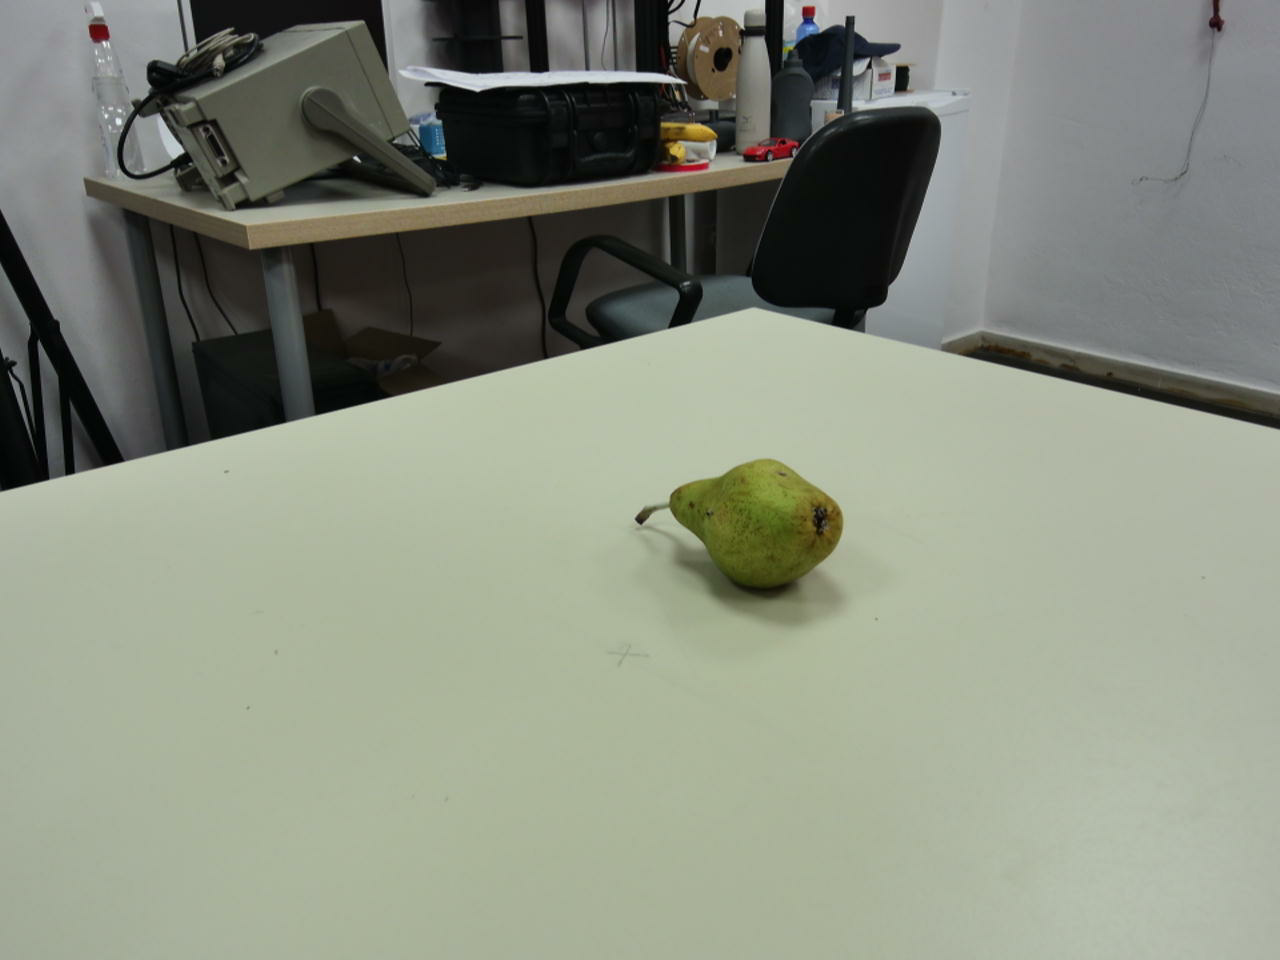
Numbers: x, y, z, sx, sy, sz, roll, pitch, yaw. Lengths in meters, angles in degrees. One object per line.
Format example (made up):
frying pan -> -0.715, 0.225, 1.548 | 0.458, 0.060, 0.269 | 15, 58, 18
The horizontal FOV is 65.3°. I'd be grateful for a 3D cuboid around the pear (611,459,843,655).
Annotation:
pear -> 0.048, 0.013, 0.461 | 0.056, 0.056, 0.111 | -9, 24, -22
